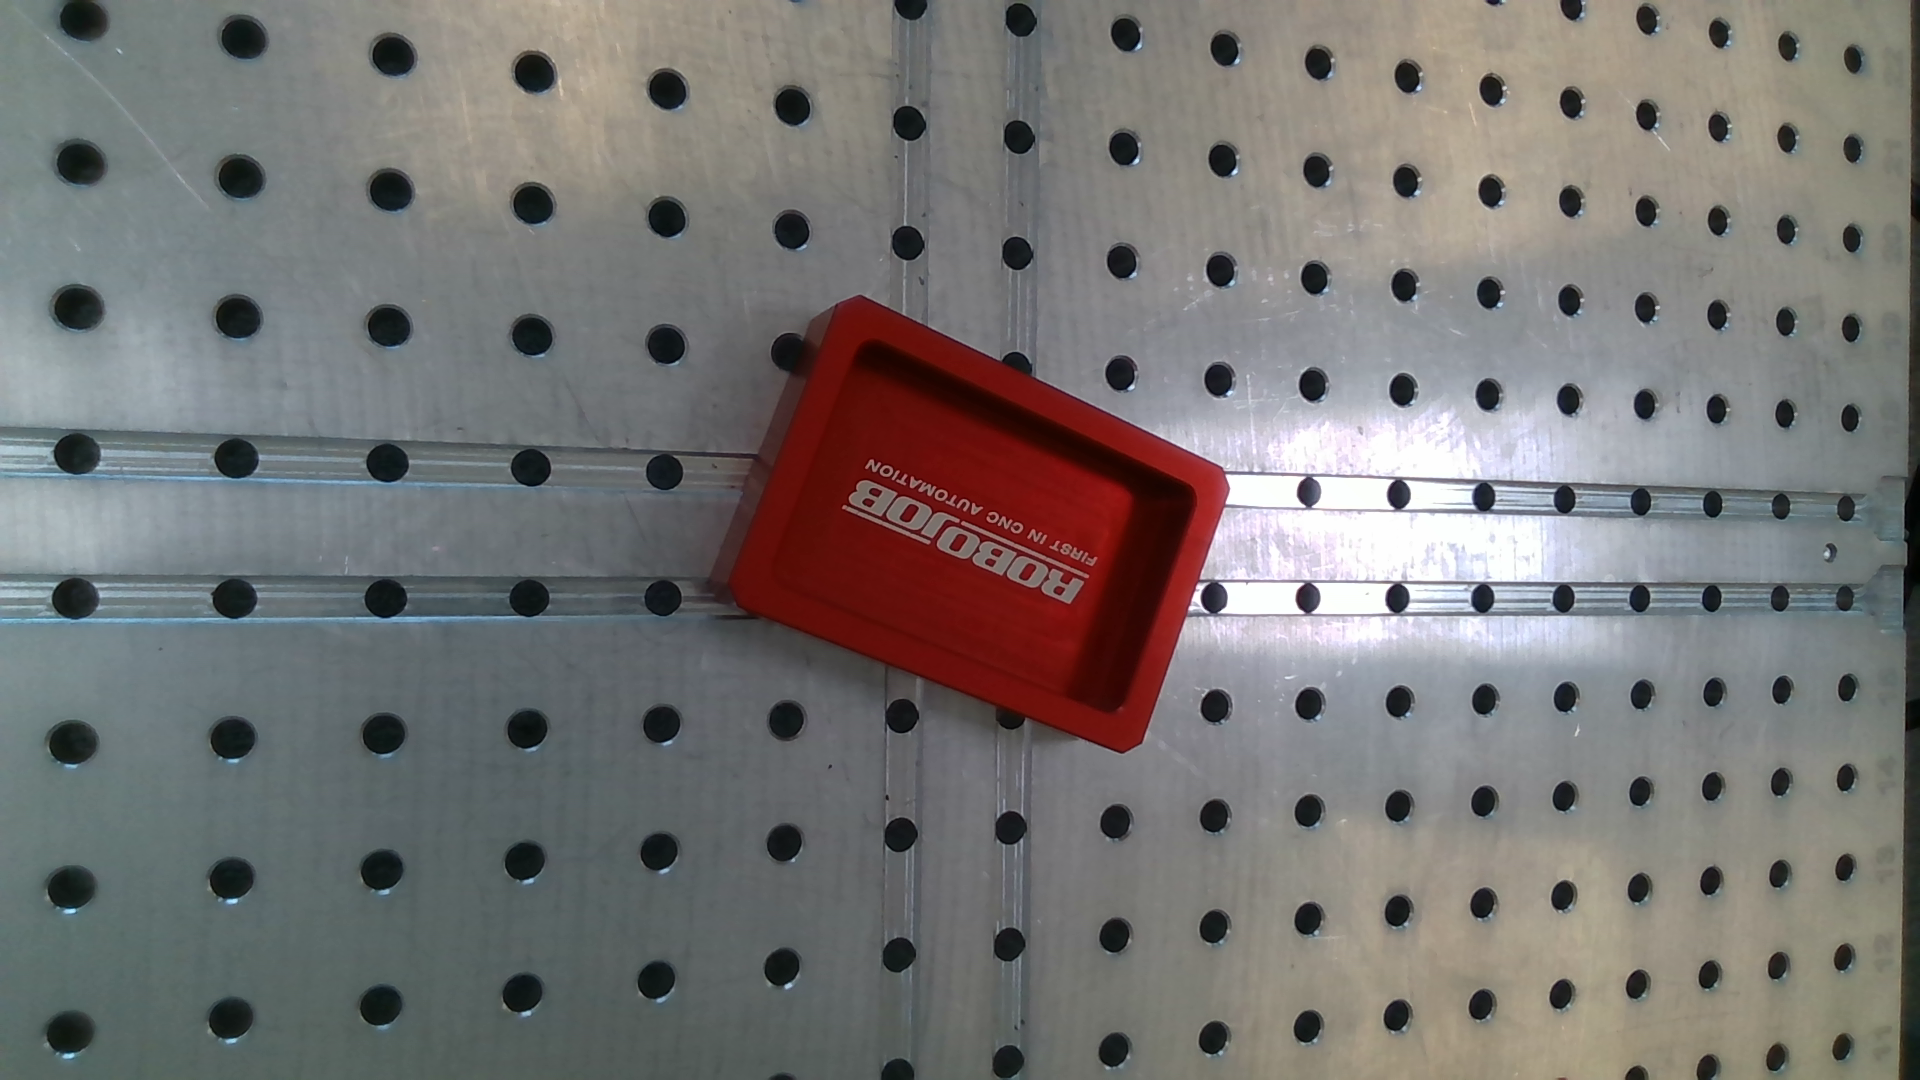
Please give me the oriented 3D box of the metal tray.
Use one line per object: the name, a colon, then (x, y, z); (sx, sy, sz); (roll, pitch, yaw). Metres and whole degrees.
metal tray: (0.005, -0.002, 0.395); (0.130, 0.030, 0.090); (23, 83, -19)
